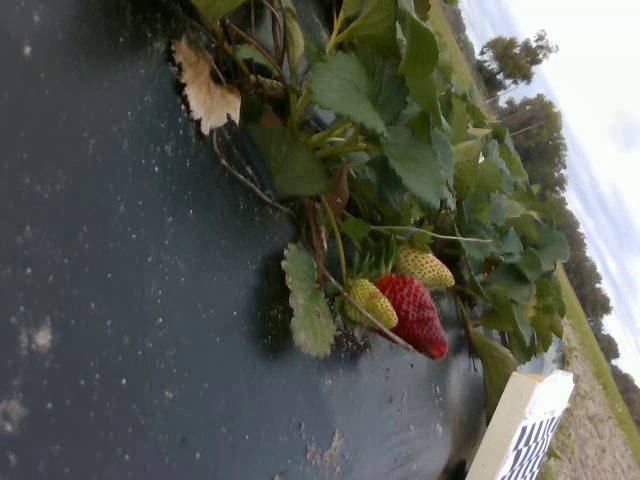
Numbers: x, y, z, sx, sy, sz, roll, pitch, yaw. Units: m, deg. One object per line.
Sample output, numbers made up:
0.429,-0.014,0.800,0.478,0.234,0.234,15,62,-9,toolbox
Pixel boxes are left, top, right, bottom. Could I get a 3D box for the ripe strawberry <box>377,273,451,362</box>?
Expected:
0.048,0.046,0.314,0.059,0.046,0.046,47,18,29,ripe strawberry
